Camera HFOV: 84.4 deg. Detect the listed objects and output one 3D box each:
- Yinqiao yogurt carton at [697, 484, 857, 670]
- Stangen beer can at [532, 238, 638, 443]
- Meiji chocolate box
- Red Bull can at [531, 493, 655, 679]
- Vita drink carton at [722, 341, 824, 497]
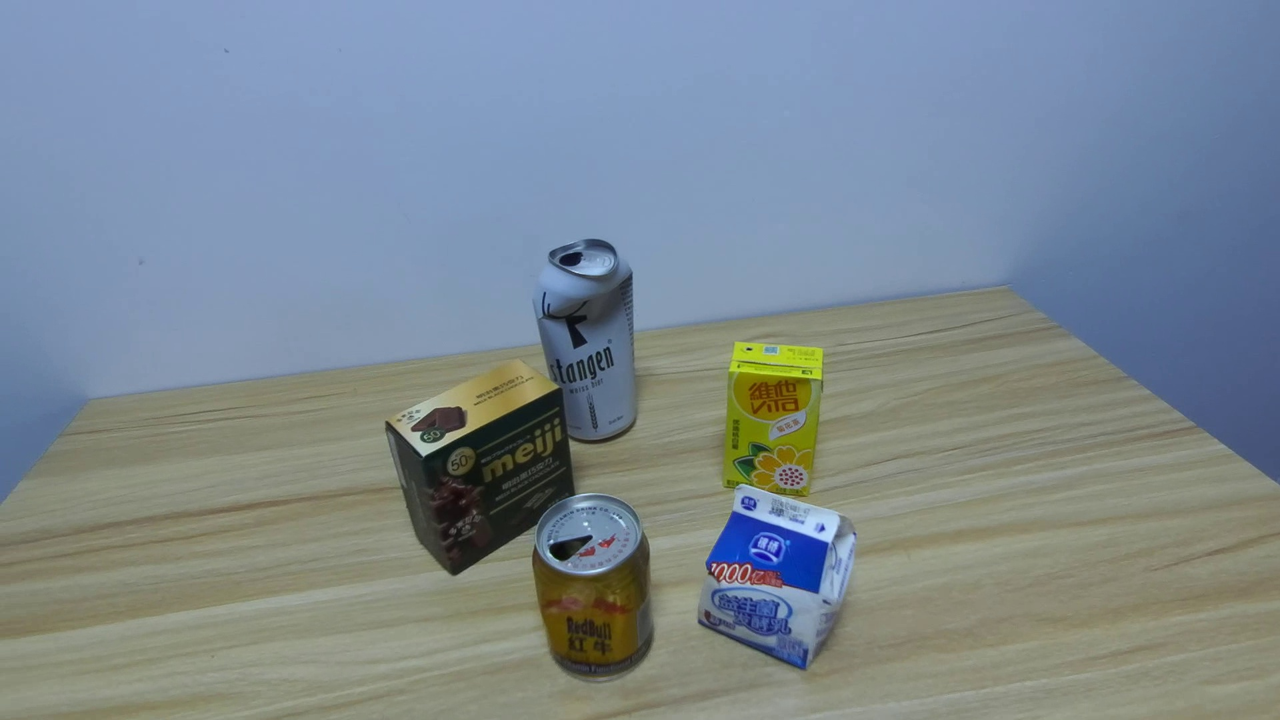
[{"bbox_3d":[0.085,0.117,0.424,0.083,0.093,0.077,15,37,27],"label":"Yinqiao yogurt carton"},{"bbox_3d":[-0.040,-0.012,0.574,0.065,0.162,0.077,3,33,11],"label":"Stangen beer can"},{"bbox_3d":[-0.107,0.074,0.500,0.110,0.109,0.056,-27,40,-33],"label":"Meiji chocolate box"},{"bbox_3d":[-0.027,0.132,0.414,0.069,0.092,0.069,-2,32,2],"label":"Red Bull can"},{"bbox_3d":[0.098,0.044,0.522,0.066,0.109,0.043,5,34,11],"label":"Vita drink carton"}]
